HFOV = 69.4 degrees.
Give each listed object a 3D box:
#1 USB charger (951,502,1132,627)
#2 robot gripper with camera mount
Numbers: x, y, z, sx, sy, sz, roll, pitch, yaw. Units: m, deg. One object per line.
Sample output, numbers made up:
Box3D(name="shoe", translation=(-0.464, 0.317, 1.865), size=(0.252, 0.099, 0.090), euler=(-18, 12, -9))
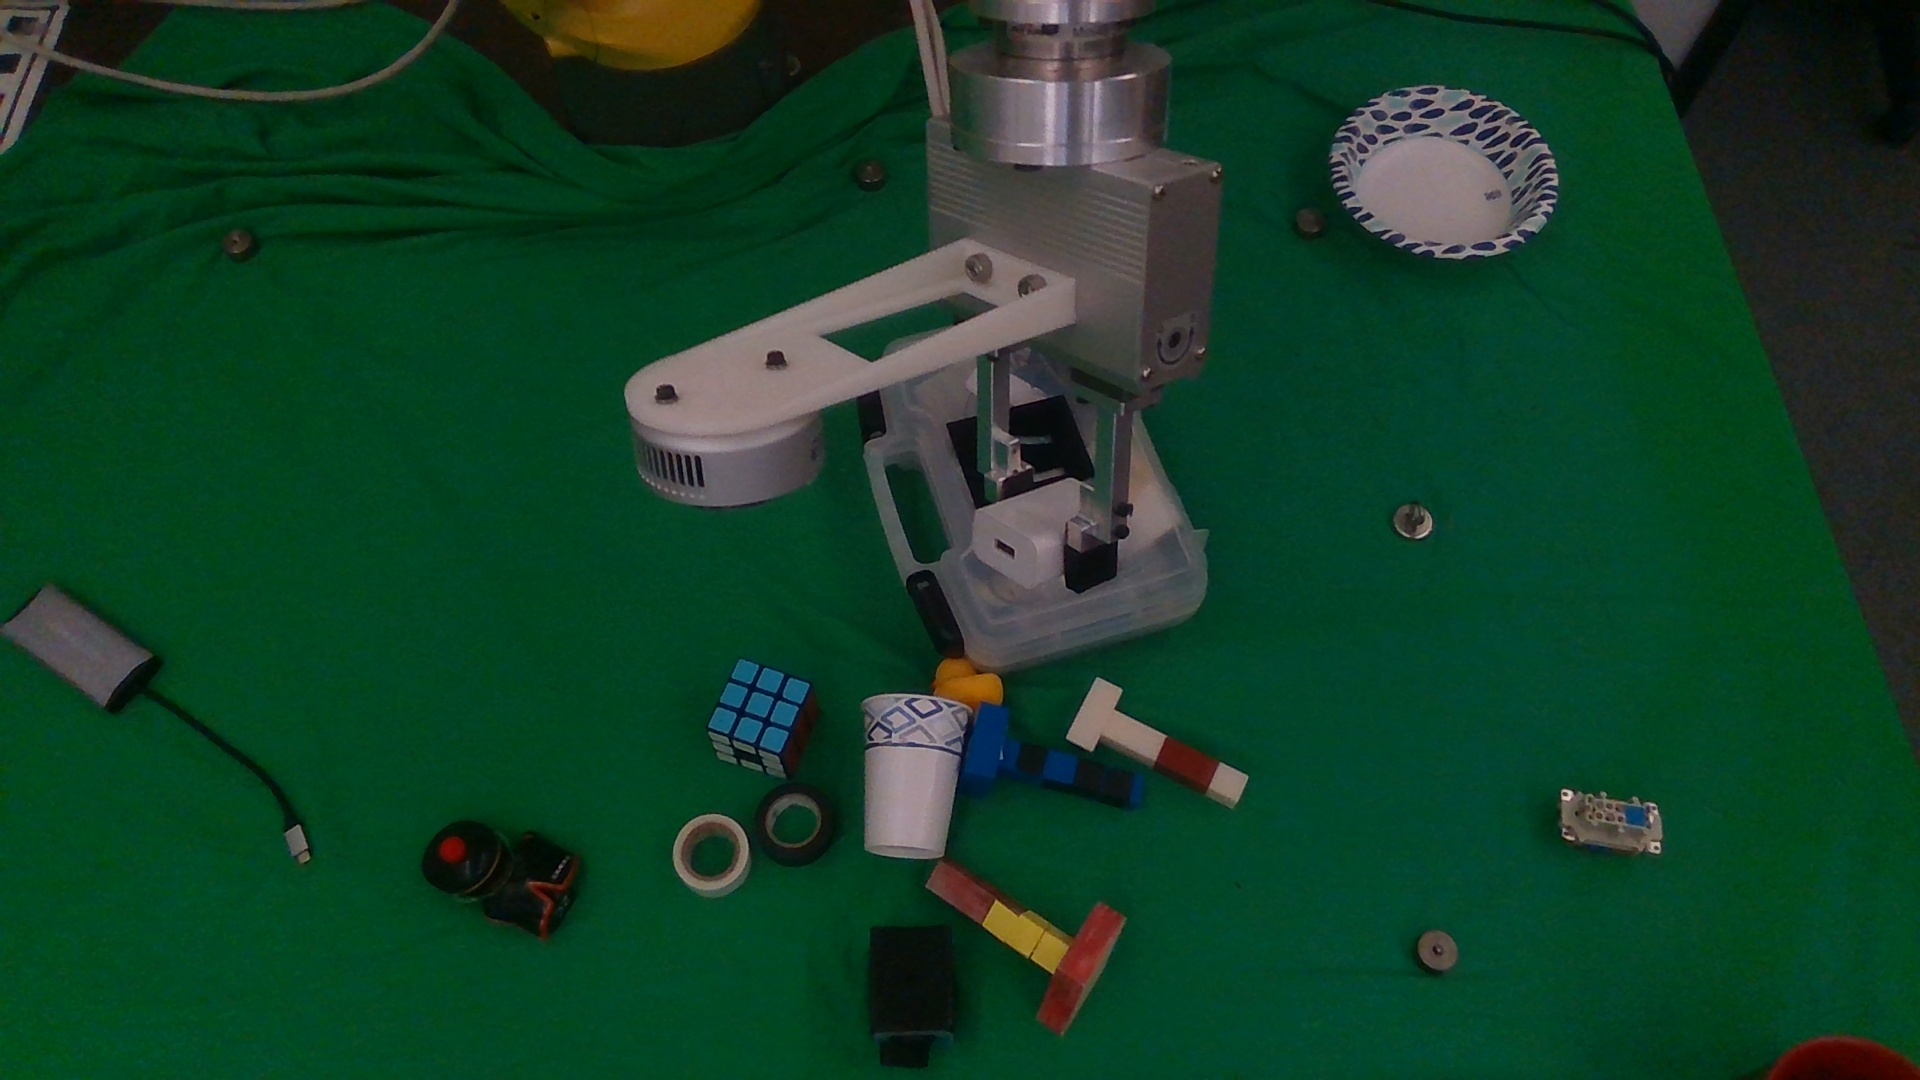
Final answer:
Box3D(name="USB charger", translation=(0.036, 0.005, 0.575), size=(0.075, 0.029, 0.045), euler=(-19, 43, -26))
Box3D(name="robot gripper with camera mount", translation=(-0.027, -0.033, 0.489), size=(0.193, 0.158, 0.119), euler=(-19, 35, -34))
